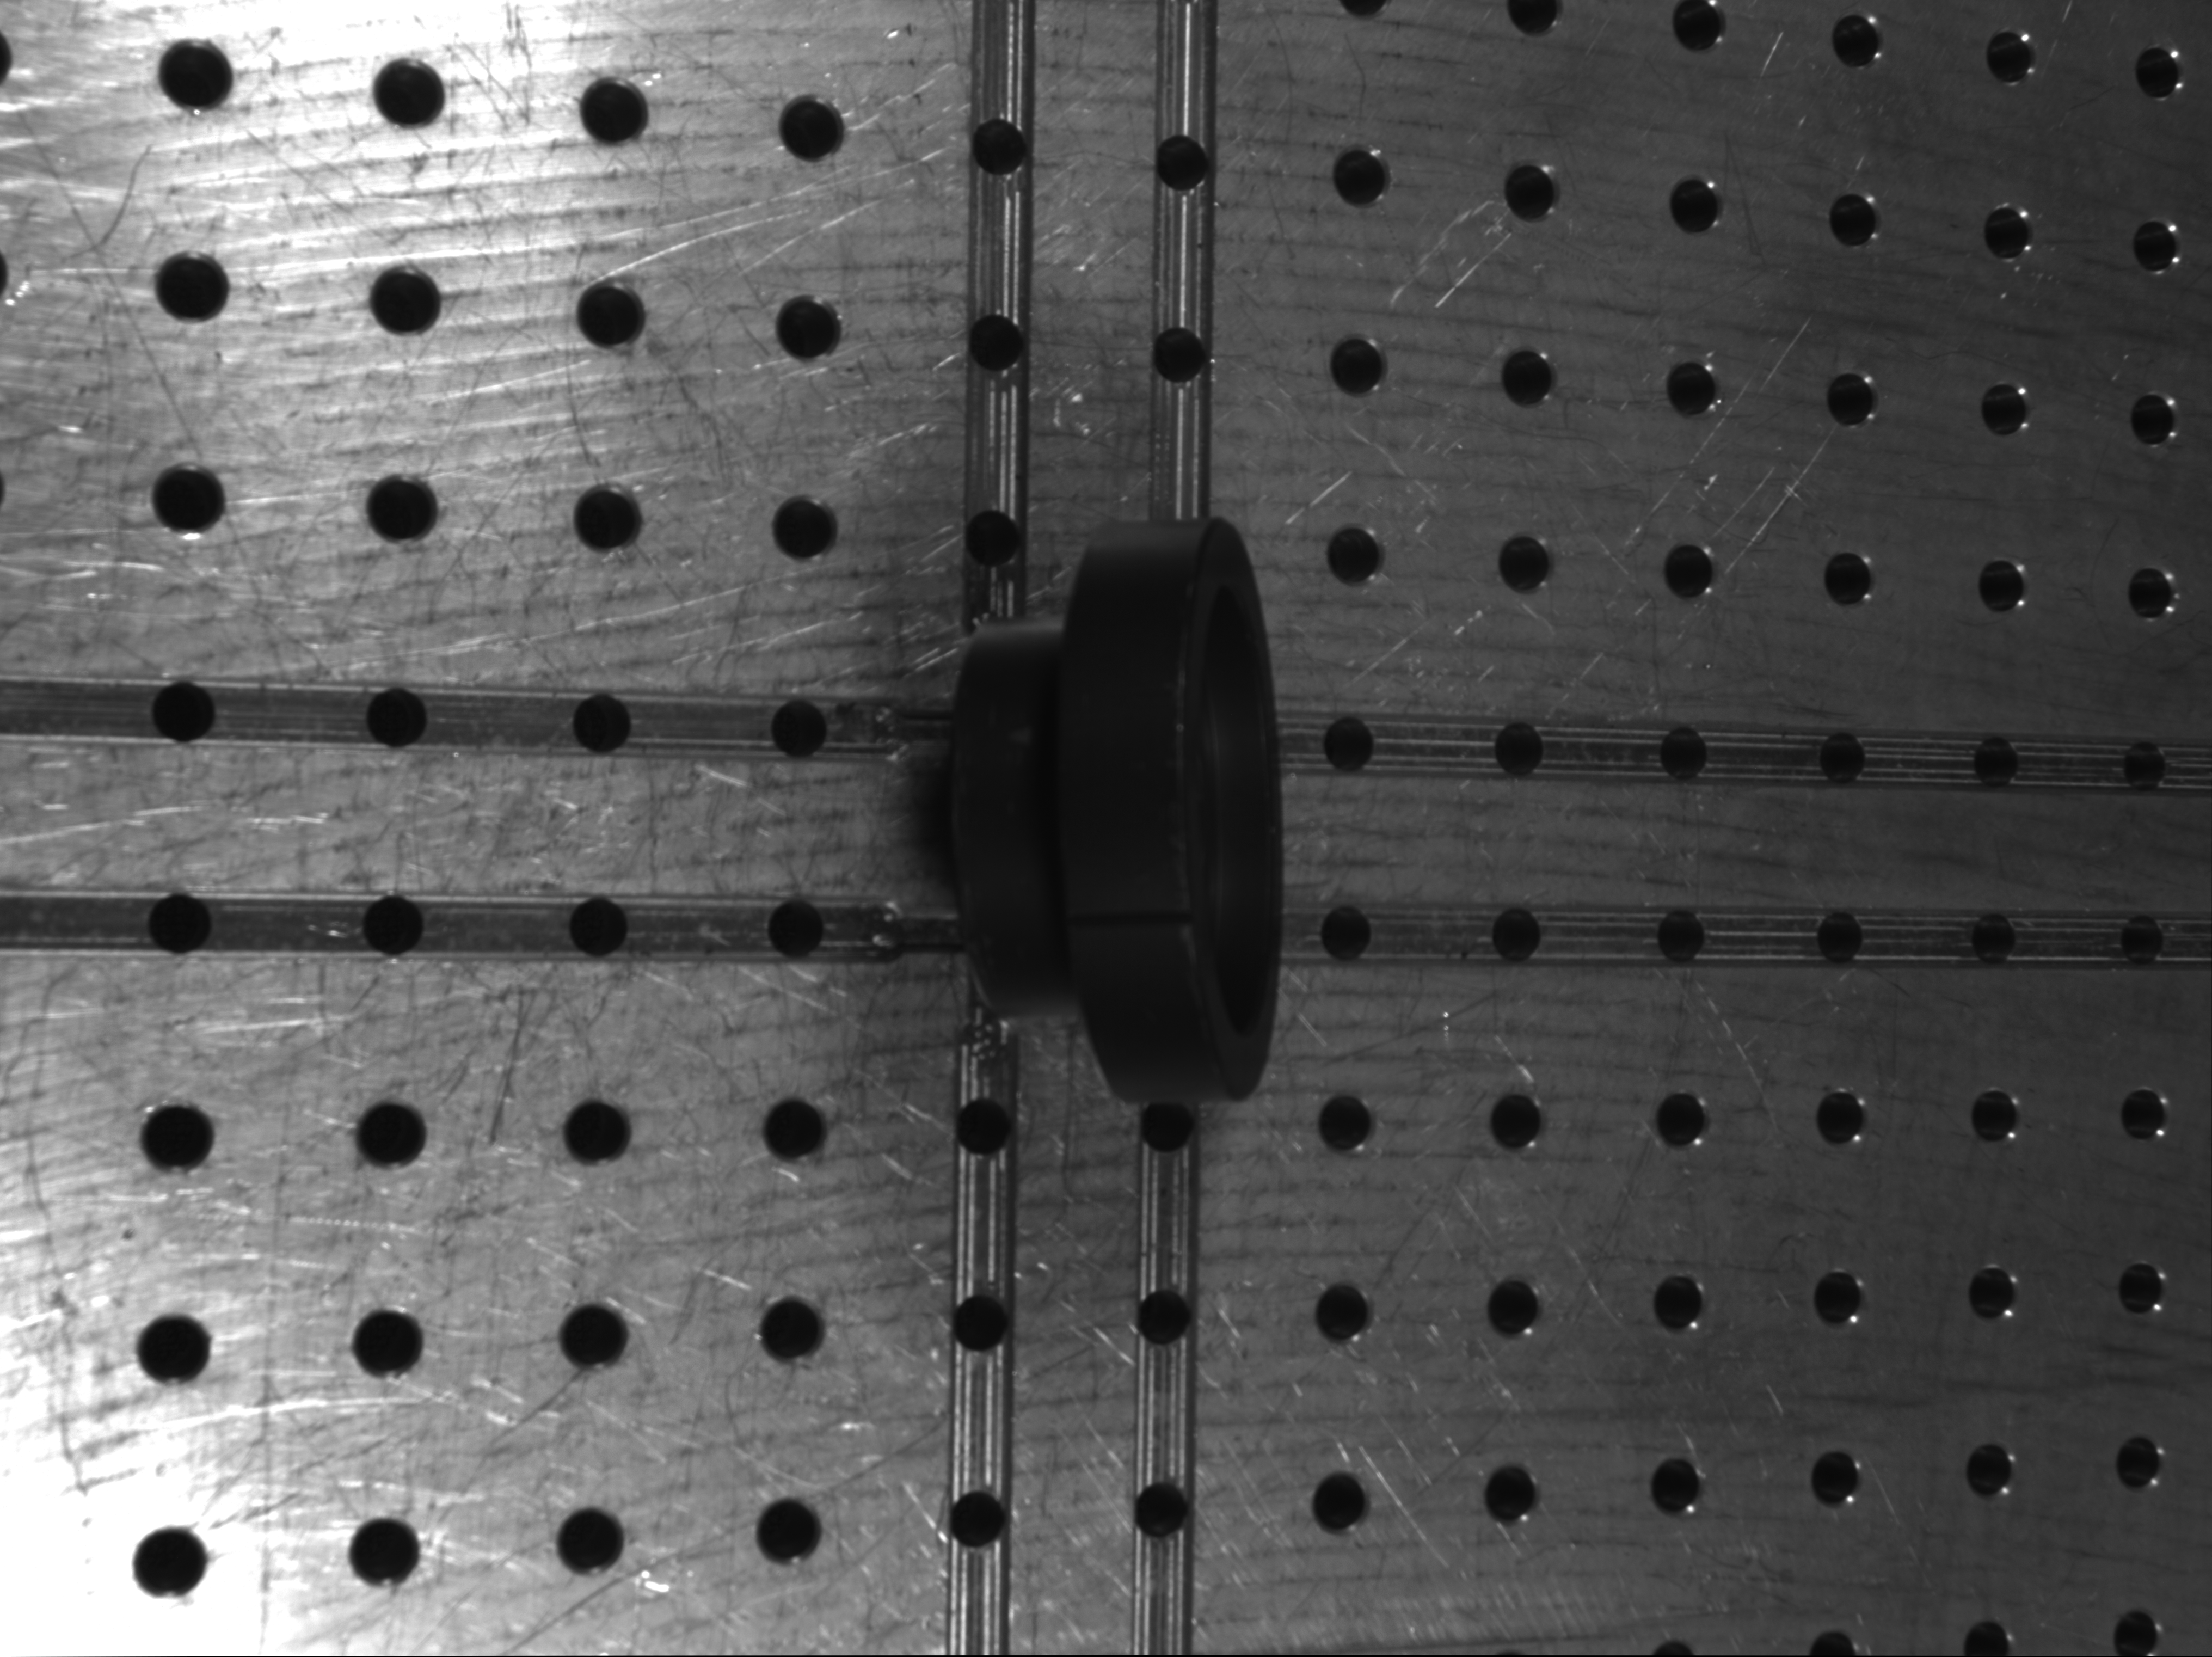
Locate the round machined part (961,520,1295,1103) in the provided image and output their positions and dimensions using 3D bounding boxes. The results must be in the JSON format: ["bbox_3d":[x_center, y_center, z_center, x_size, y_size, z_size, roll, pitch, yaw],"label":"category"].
[{"bbox_3d":[0.004,-0.002,0.618,0.042,0.098,0.098,-2,91,12],"label":"round machined part"}]
